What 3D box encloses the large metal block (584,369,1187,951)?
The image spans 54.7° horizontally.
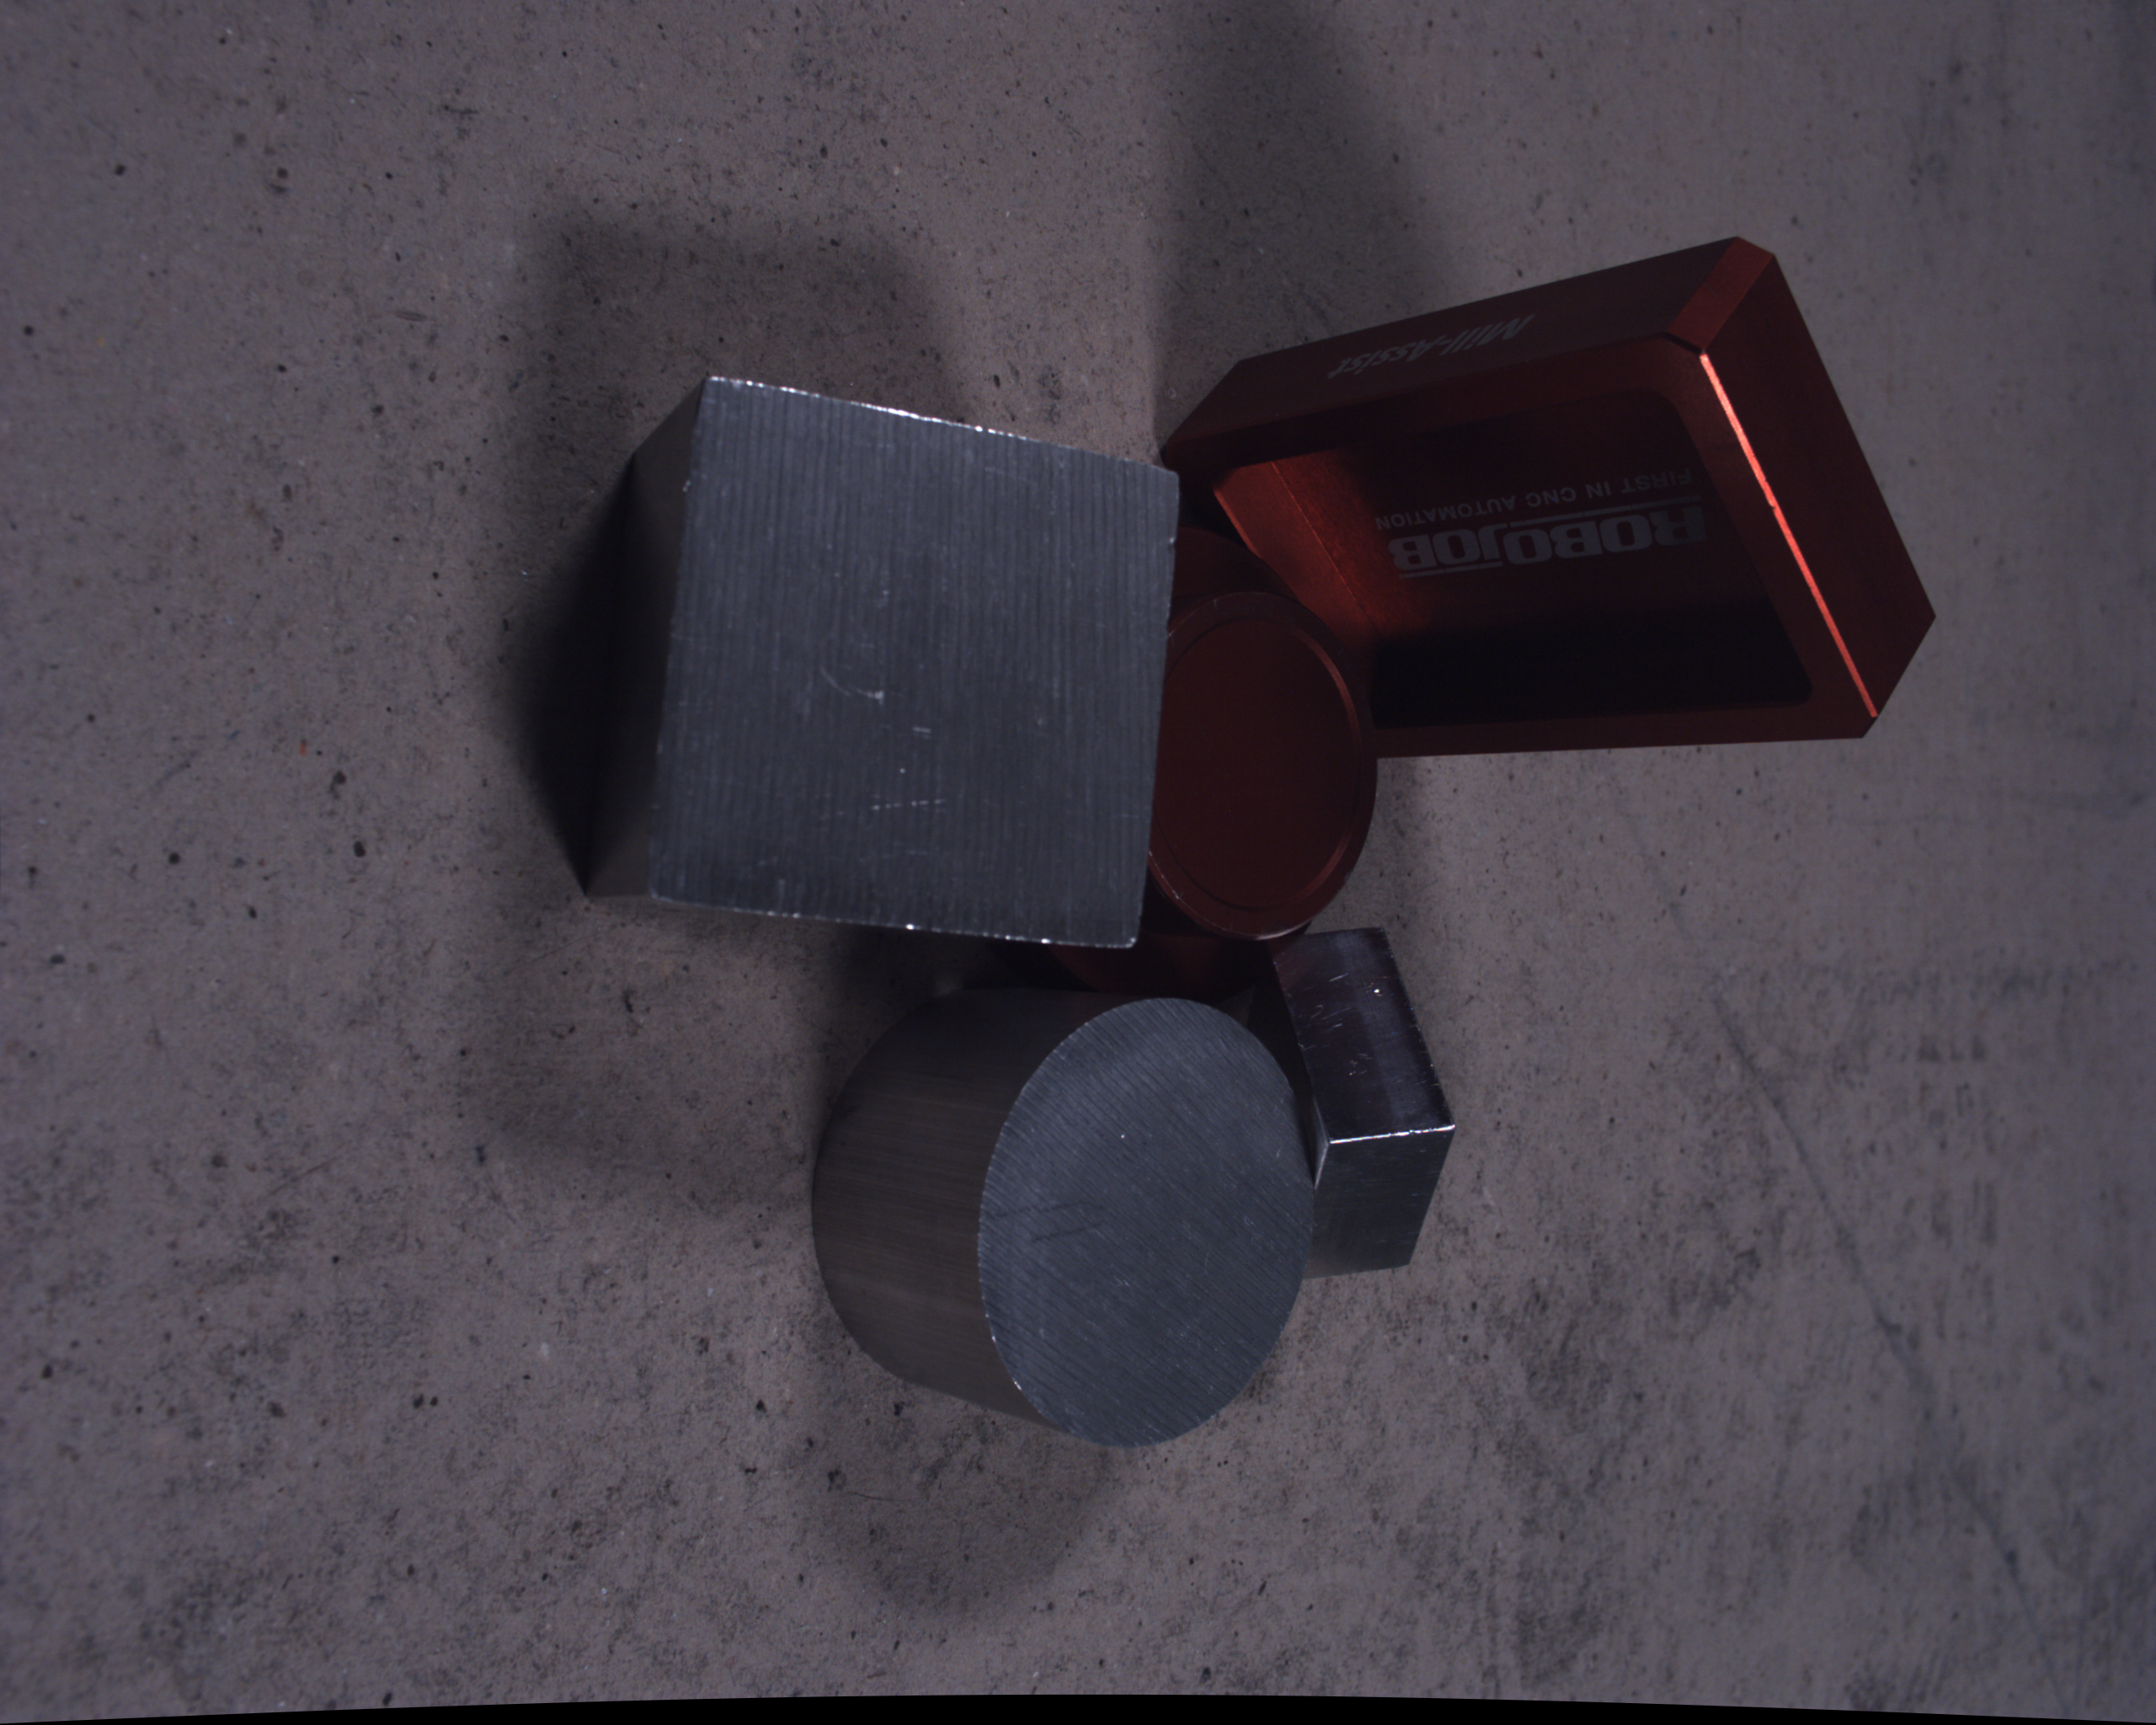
[{"bbox_3d":[-0.033,-0.029,0.348,0.081,0.050,0.080,7,85,-23],"label":"large metal block"}]

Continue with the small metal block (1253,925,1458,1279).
[{"bbox_3d":[0.053,0.049,0.422,0.025,0.050,0.050,-5,139,-10],"label":"small metal block"}]

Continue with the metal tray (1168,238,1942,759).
[{"bbox_3d":[0.090,-0.065,0.414,0.030,0.130,0.090,-52,121,-28],"label":"metal tray"}]

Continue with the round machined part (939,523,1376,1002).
[{"bbox_3d":[0.021,-0.019,0.416,0.099,0.042,0.097,0,90,-40],"label":"round machined part"}]

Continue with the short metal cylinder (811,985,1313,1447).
[{"bbox_3d":[-0.002,0.064,0.391,0.081,0.050,0.079,0,90,-40],"label":"short metal cylinder"}]
